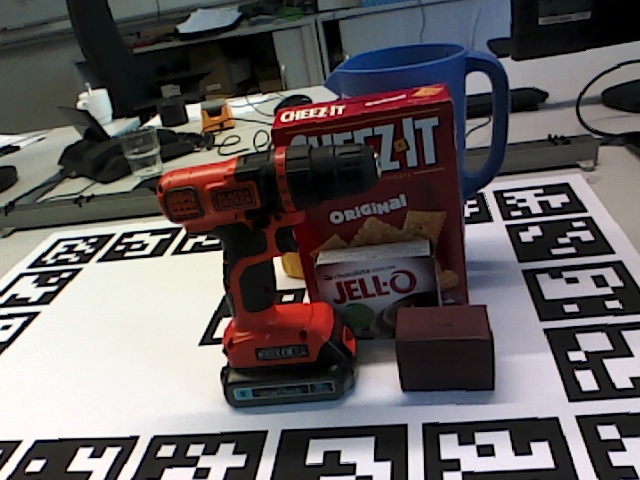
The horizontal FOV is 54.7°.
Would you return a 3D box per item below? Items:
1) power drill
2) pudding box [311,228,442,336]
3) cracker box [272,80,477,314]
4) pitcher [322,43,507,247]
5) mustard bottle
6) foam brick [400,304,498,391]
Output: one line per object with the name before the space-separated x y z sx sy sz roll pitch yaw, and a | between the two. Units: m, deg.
power drill | -0.024 0.016 0.516 0.185 0.186 0.057 -6 24 9
pudding box | 0.055 0.041 0.589 0.114 0.090 0.039 -8 25 12
cracker box | 0.058 -0.030 0.607 0.164 0.213 0.072 -9 25 10
pitcher | 0.113 -0.088 0.686 0.189 0.242 0.133 -5 27 17
mustard bottle | -0.015 -0.063 0.714 0.096 0.191 0.058 0 30 22
foam brick | 0.111 0.094 0.537 0.078 0.051 0.053 -5 29 12
